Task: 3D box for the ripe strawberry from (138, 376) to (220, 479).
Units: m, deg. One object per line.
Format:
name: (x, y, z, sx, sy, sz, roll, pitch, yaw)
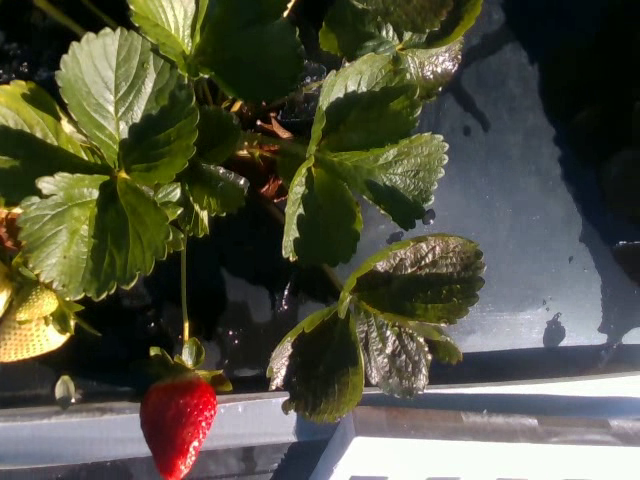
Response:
ripe strawberry: (-0.058, 0.077, 0.261, 0.036, 0.046, 0.038, 8, -31, -11)
